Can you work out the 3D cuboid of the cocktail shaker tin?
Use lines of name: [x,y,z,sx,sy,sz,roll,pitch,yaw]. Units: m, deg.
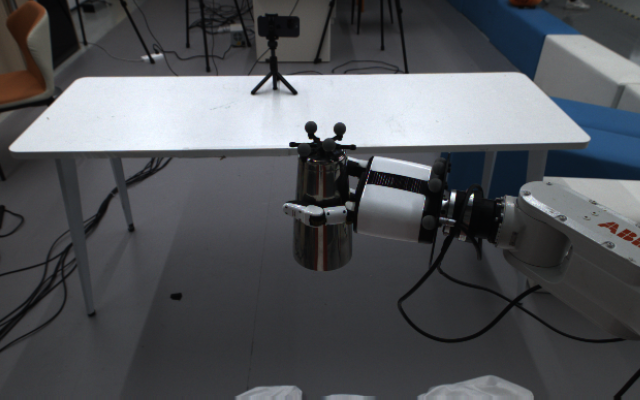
cocktail shaker tin: [0.006,0.006,0.693,0.093,0.170,0.093,0,33,0]
